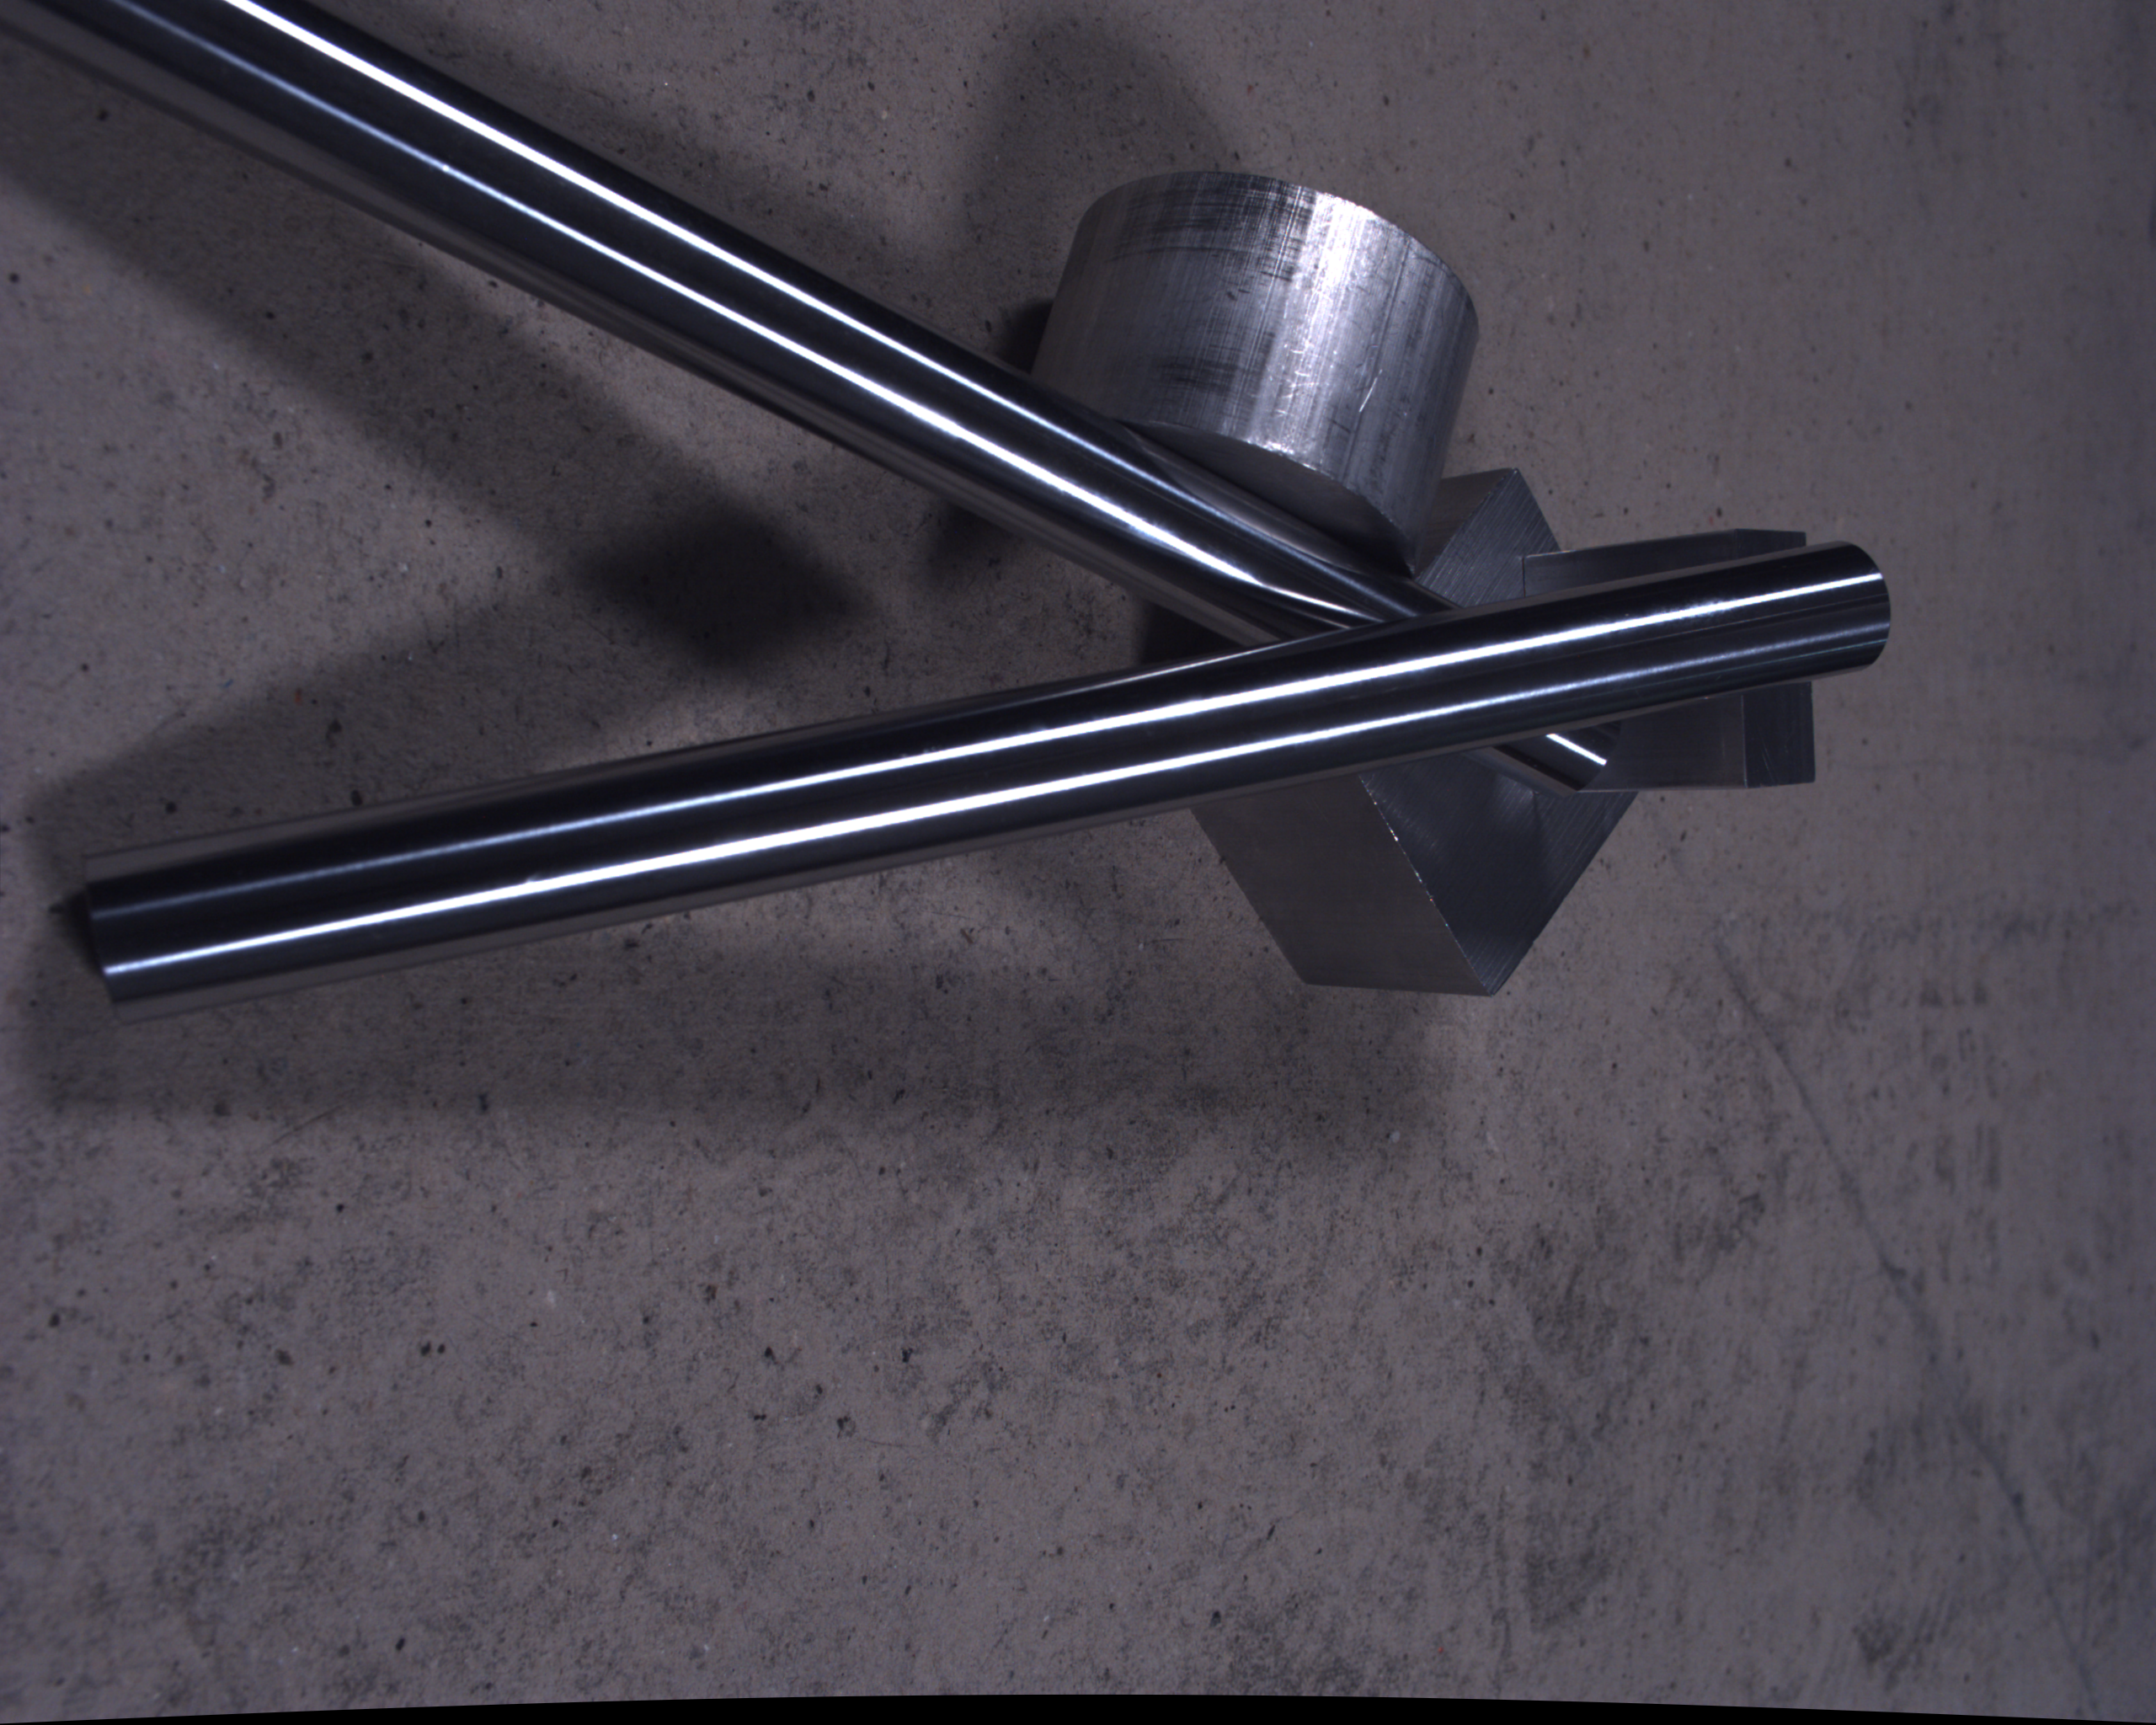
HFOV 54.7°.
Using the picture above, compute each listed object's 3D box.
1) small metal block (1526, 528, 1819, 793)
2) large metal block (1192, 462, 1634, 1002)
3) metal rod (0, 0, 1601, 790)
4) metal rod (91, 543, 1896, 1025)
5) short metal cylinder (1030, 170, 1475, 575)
[{"bbox_3d":[0.120,-0.040,0.424,0.025,0.050,0.050,-5,94,-40],"label":"small metal block"},{"bbox_3d":[0.072,-0.028,0.451,0.080,0.050,0.080,-48,119,-28],"label":"large metal block"},{"bbox_3d":[-0.030,-0.078,0.345,0.302,0.025,0.025,23,75,-26],"label":"metal rod"},{"bbox_3d":[0.004,-0.018,0.342,0.302,0.025,0.025,-12,98,-19],"label":"metal rod"},{"bbox_3d":[0.030,-0.087,0.399,0.080,0.080,0.050,26,74,-37],"label":"short metal cylinder"}]
